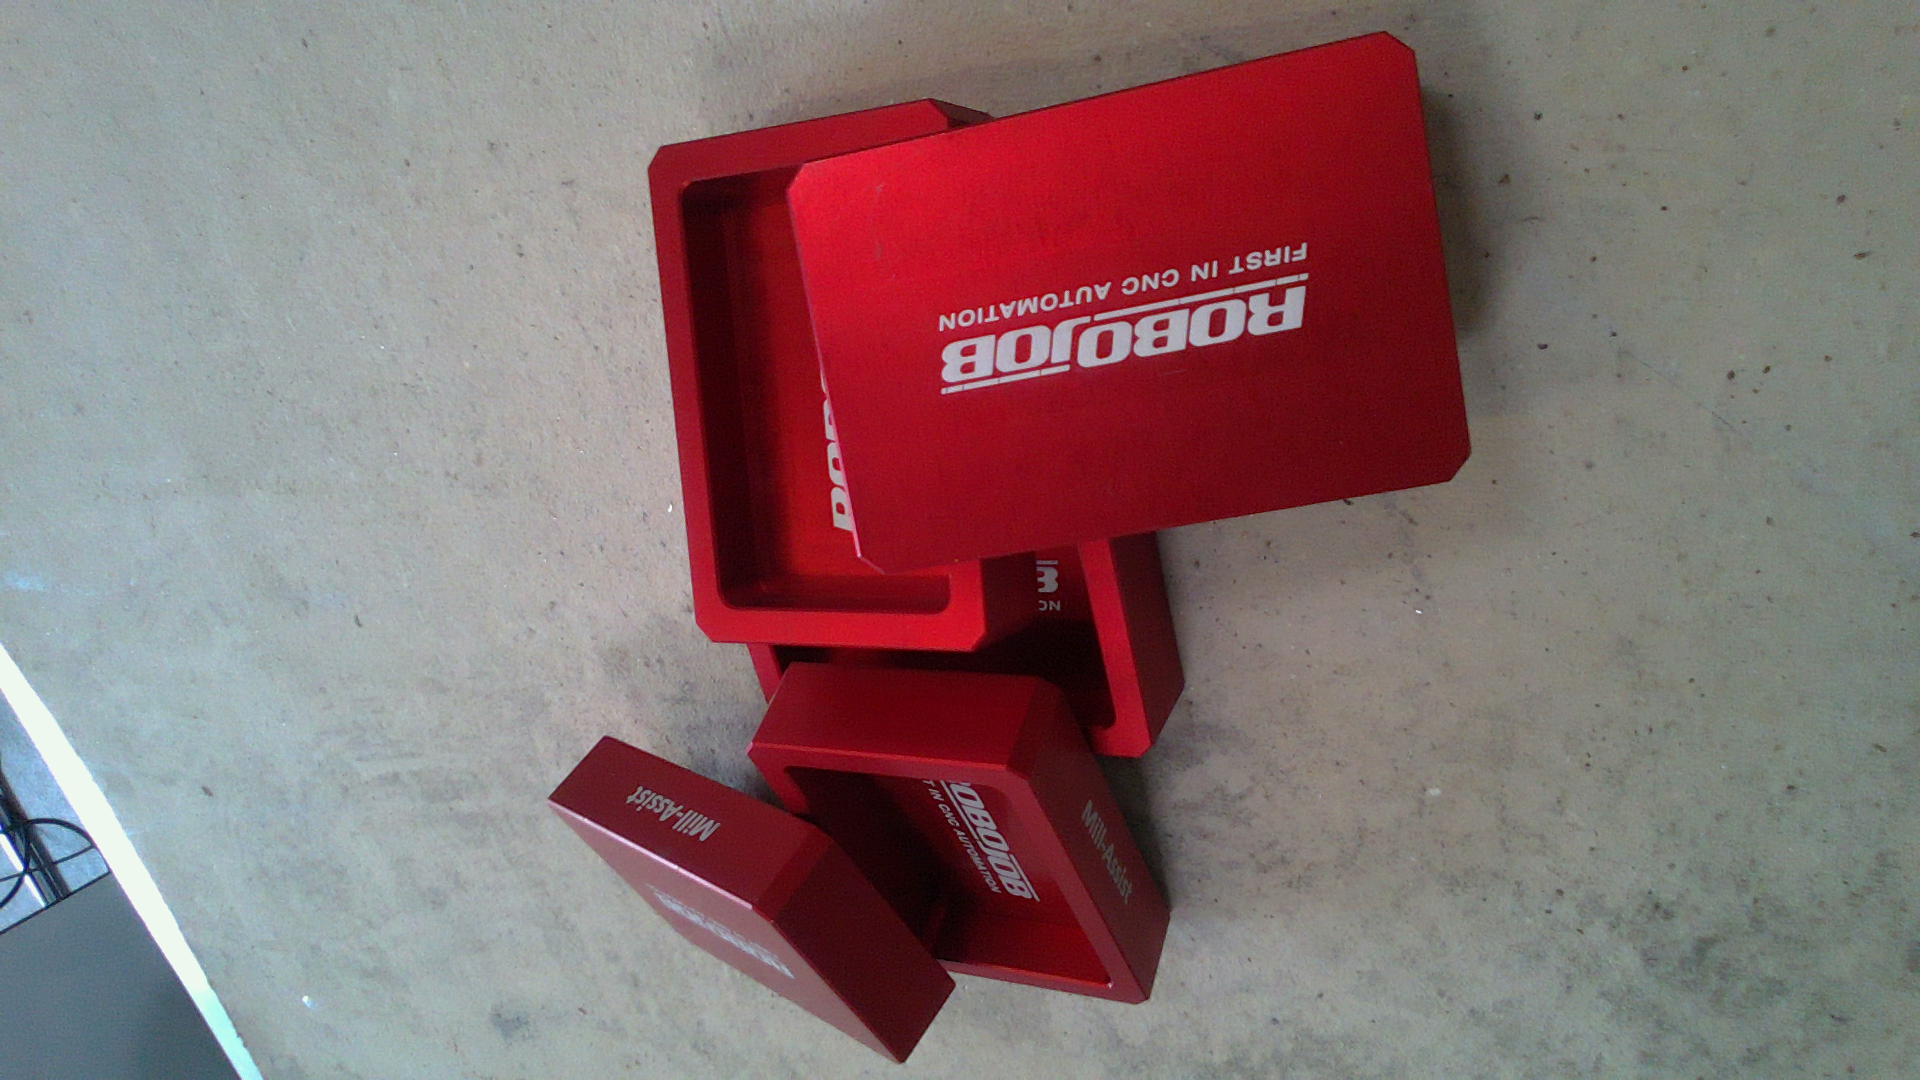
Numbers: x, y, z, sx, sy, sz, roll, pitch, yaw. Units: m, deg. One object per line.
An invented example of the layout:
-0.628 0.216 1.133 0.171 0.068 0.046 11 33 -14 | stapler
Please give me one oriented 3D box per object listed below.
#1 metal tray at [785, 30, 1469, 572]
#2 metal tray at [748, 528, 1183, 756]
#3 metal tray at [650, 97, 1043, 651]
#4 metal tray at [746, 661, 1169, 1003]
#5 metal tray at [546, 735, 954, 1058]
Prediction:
0.035 -0.049 0.300 0.130 0.030 0.090 -10 96 10 | metal tray
-0.007 0.014 0.403 0.130 0.030 0.090 0 119 28 | metal tray
-0.030 -0.039 0.355 0.090 0.030 0.130 -1 99 28 | metal tray
0.003 0.091 0.418 0.090 0.030 0.130 1 138 28 | metal tray
-0.073 0.117 0.464 0.129 0.030 0.090 9 141 45 | metal tray
